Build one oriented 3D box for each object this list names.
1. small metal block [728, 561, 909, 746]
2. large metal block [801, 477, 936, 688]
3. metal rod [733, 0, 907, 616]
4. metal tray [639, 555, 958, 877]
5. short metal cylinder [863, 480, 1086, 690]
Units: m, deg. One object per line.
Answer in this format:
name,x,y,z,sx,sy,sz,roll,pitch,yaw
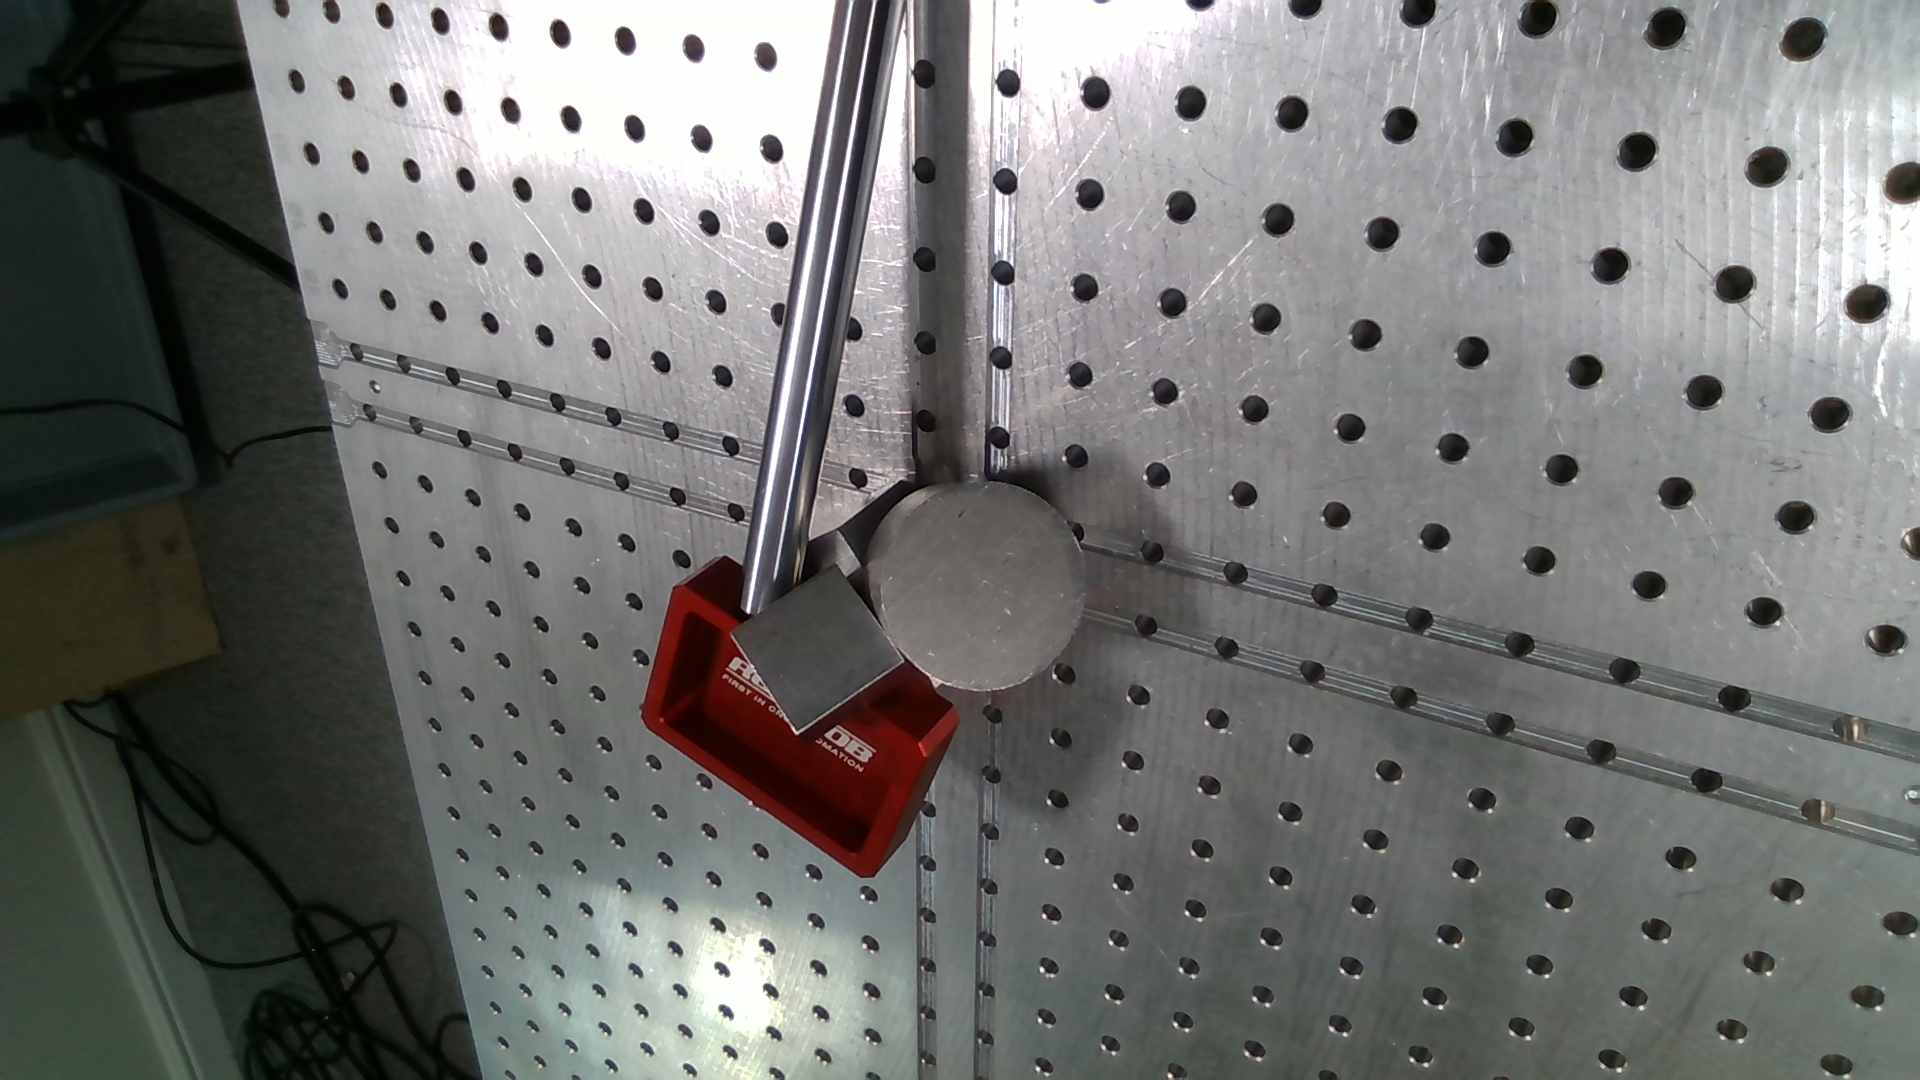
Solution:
small metal block,-0.056,0.045,0.548,0.050,0.050,0.025,54,172,17
large metal block,-0.046,0.030,0.610,0.080,0.050,0.080,-24,101,38
metal rod,-0.050,-0.108,0.516,0.025,0.025,0.301,22,113,20
metal tray,-0.073,0.077,0.598,0.130,0.030,0.090,32,127,13
short metal cylinder,0.004,0.016,0.546,0.080,0.080,0.050,59,171,-9
